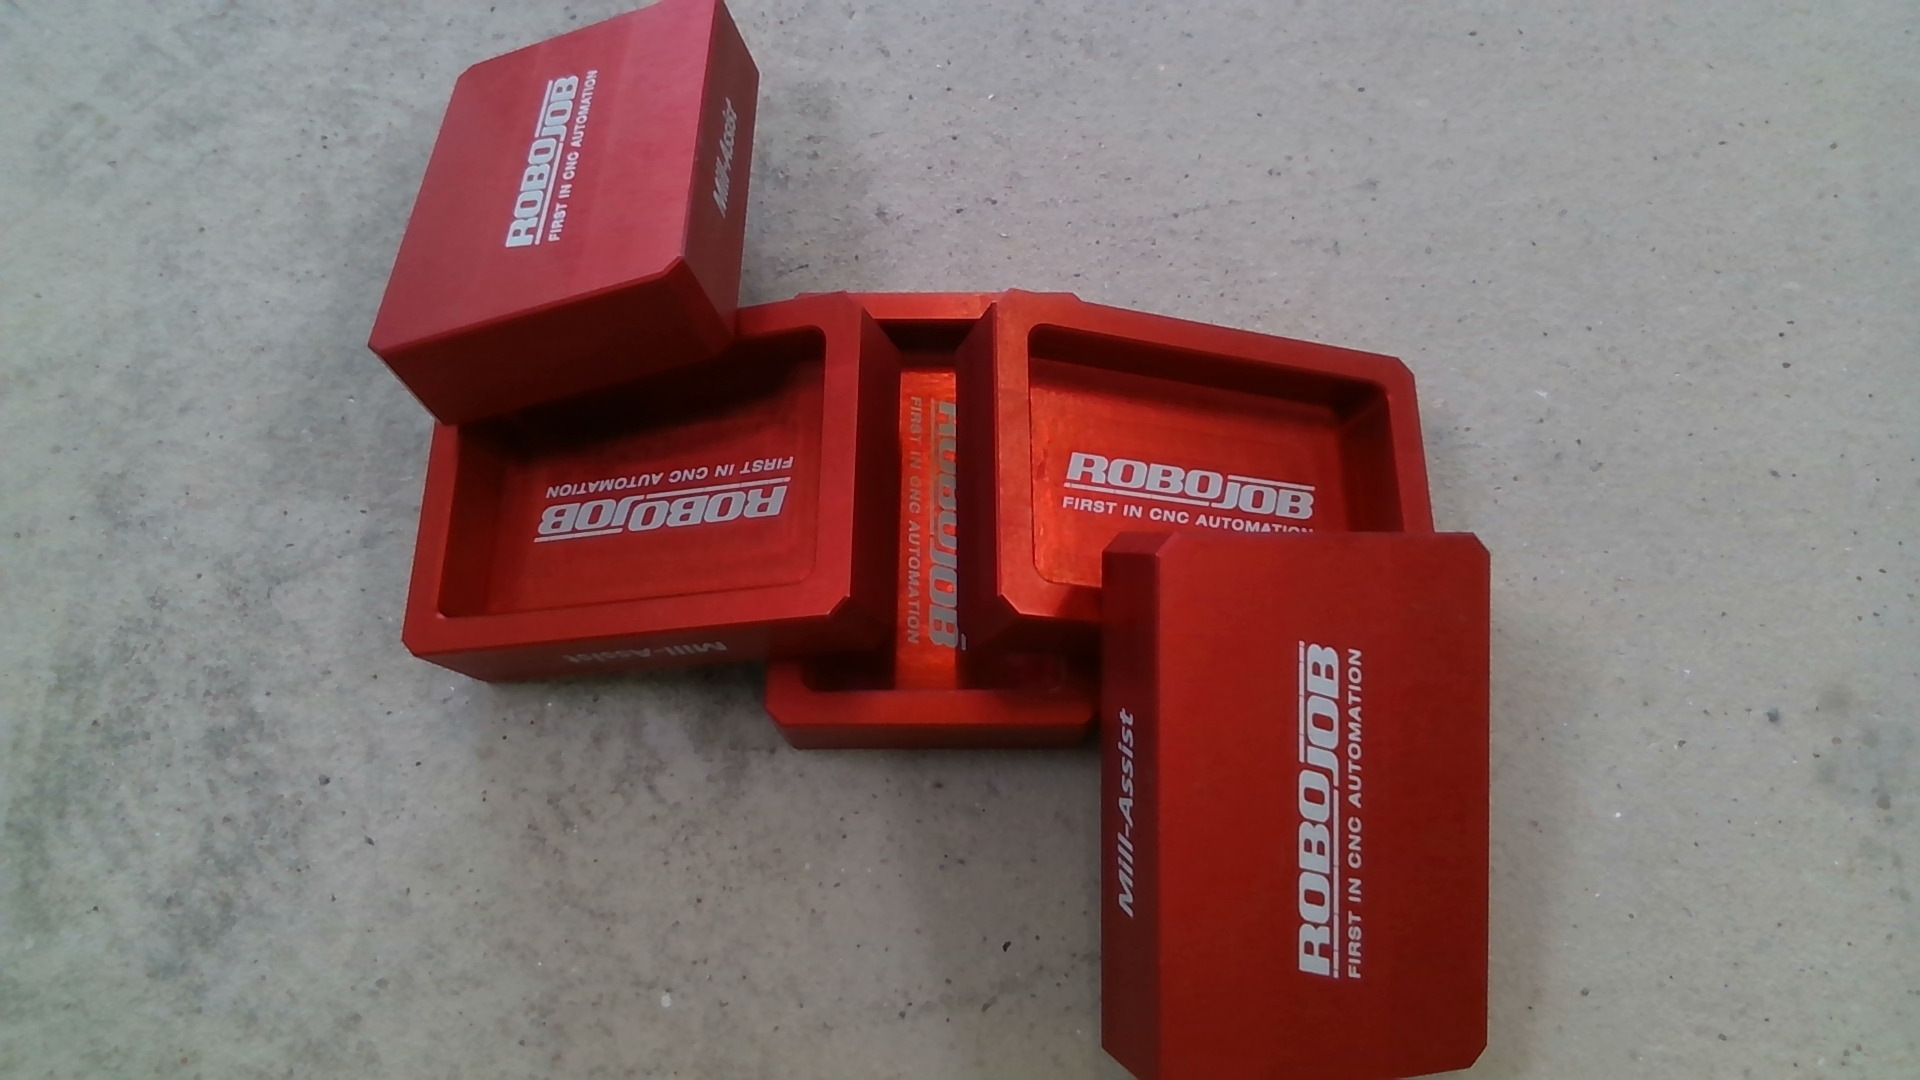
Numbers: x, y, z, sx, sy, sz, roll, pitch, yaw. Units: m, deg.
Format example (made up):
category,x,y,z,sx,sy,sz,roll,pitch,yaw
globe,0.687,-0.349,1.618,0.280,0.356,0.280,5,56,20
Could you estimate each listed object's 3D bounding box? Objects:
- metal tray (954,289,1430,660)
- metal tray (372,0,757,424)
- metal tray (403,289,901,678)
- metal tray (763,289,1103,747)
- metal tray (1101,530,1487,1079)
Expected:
category,x,y,z,sx,sy,sz,roll,pitch,yaw
metal tray,0.065,-0.012,0.376,0.130,0.030,0.090,6,70,-19
metal tray,-0.109,-0.100,0.397,0.090,0.030,0.130,-13,52,13
metal tray,-0.083,-0.013,0.376,0.130,0.030,0.090,-6,69,18
metal tray,-0.007,-0.008,0.396,0.090,0.030,0.130,0,70,0
metal tray,0.082,0.063,0.337,0.090,0.030,0.130,0,91,-19
